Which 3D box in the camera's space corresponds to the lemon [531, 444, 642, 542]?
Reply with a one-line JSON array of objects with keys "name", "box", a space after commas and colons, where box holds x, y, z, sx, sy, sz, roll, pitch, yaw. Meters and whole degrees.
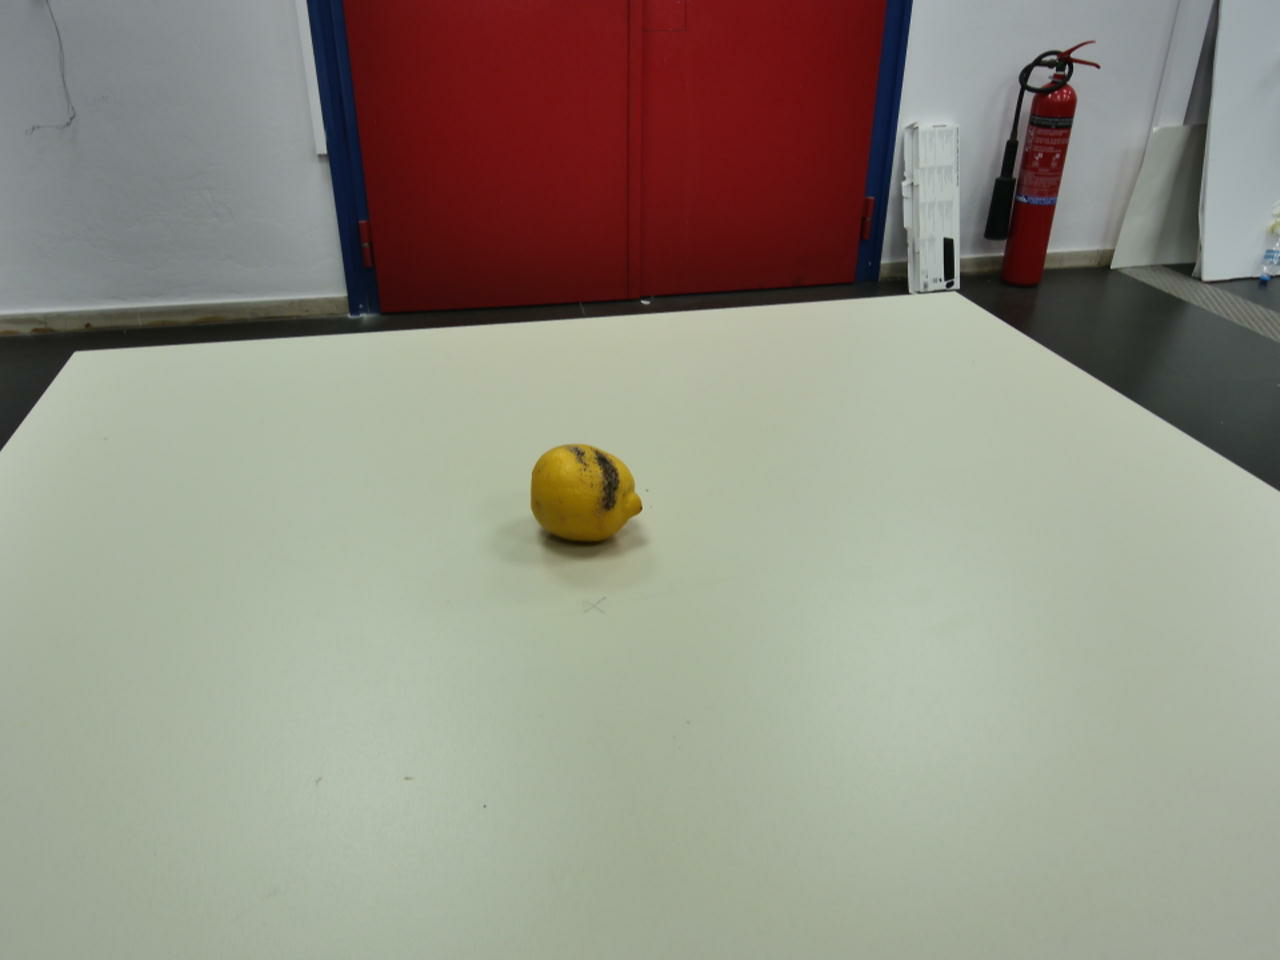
[{"name": "lemon", "box": [-0.034, 0.008, 0.583, 0.061, 0.056, 0.058, -9, 28, -18]}]
